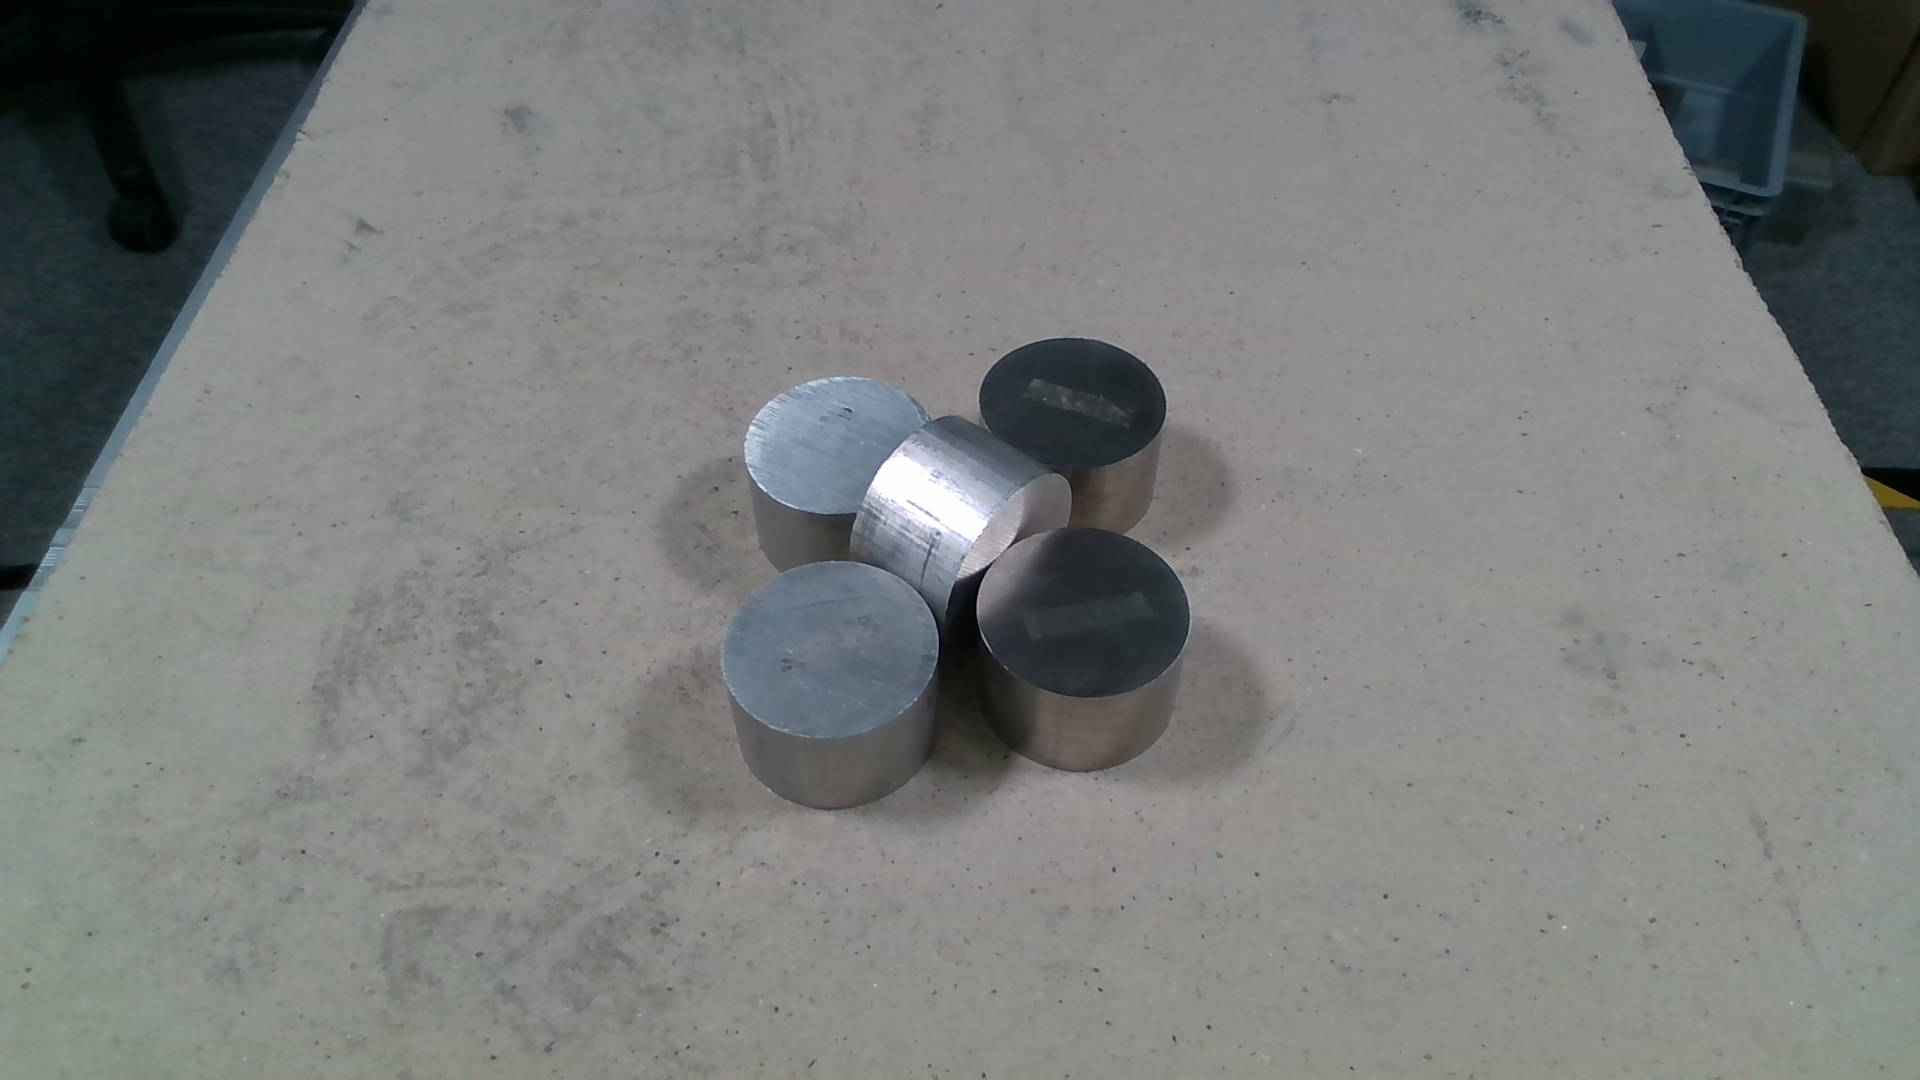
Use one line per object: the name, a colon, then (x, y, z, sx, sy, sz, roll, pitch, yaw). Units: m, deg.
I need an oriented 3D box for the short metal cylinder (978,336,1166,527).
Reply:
short metal cylinder: (0.048, -0.044, 0.606, 0.080, 0.050, 0.080, 0, 50, 0)

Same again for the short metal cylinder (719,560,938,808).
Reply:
short metal cylinder: (-0.048, 0.054, 0.524, 0.080, 0.050, 0.080, 0, 50, 0)

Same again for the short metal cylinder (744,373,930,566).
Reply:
short metal cylinder: (-0.050, -0.026, 0.591, 0.080, 0.050, 0.080, 0, 50, 0)

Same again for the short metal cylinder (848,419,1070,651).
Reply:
short metal cylinder: (0.000, -0.002, 0.554, 0.050, 0.080, 0.080, 32, 57, 24)

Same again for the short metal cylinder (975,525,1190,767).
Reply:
short metal cylinder: (0.046, 0.041, 0.534, 0.080, 0.050, 0.080, 0, 50, 0)
